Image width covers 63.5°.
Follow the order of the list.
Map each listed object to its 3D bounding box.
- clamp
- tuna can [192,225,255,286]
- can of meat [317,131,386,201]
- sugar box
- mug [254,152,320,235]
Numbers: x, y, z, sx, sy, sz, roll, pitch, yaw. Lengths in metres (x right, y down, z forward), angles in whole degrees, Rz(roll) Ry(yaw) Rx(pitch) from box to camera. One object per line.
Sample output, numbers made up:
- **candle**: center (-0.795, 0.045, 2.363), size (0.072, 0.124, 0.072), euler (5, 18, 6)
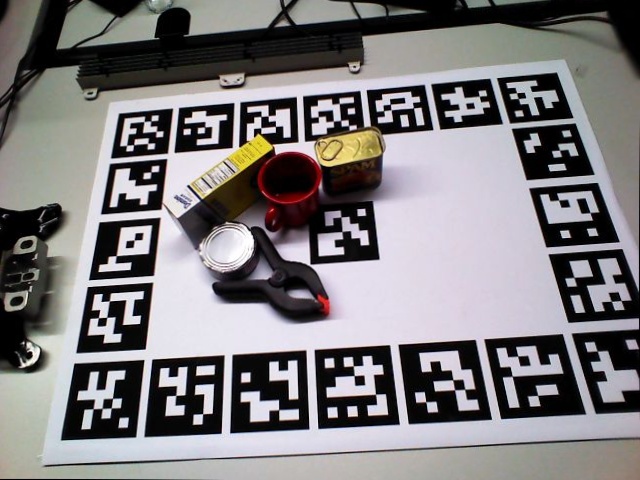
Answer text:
- **clamp**: center (-0.058, 0.069, 0.723), size (0.165, 0.037, 0.121), euler (29, 65, 14)
- **tuna can**: center (-0.138, 0.024, 0.749), size (0.086, 0.034, 0.085), euler (-2, 65, 5)
- **can of meat**: center (0.050, -0.109, 0.776), size (0.102, 0.084, 0.057), euler (-12, 61, -2)
- **sugar box**: center (-0.141, -0.064, 0.768), size (0.176, 0.093, 0.045), euler (-38, 64, -15)
- **mug**: center (-0.048, -0.060, 0.752), size (0.093, 0.082, 0.116), euler (19, 68, 14)
